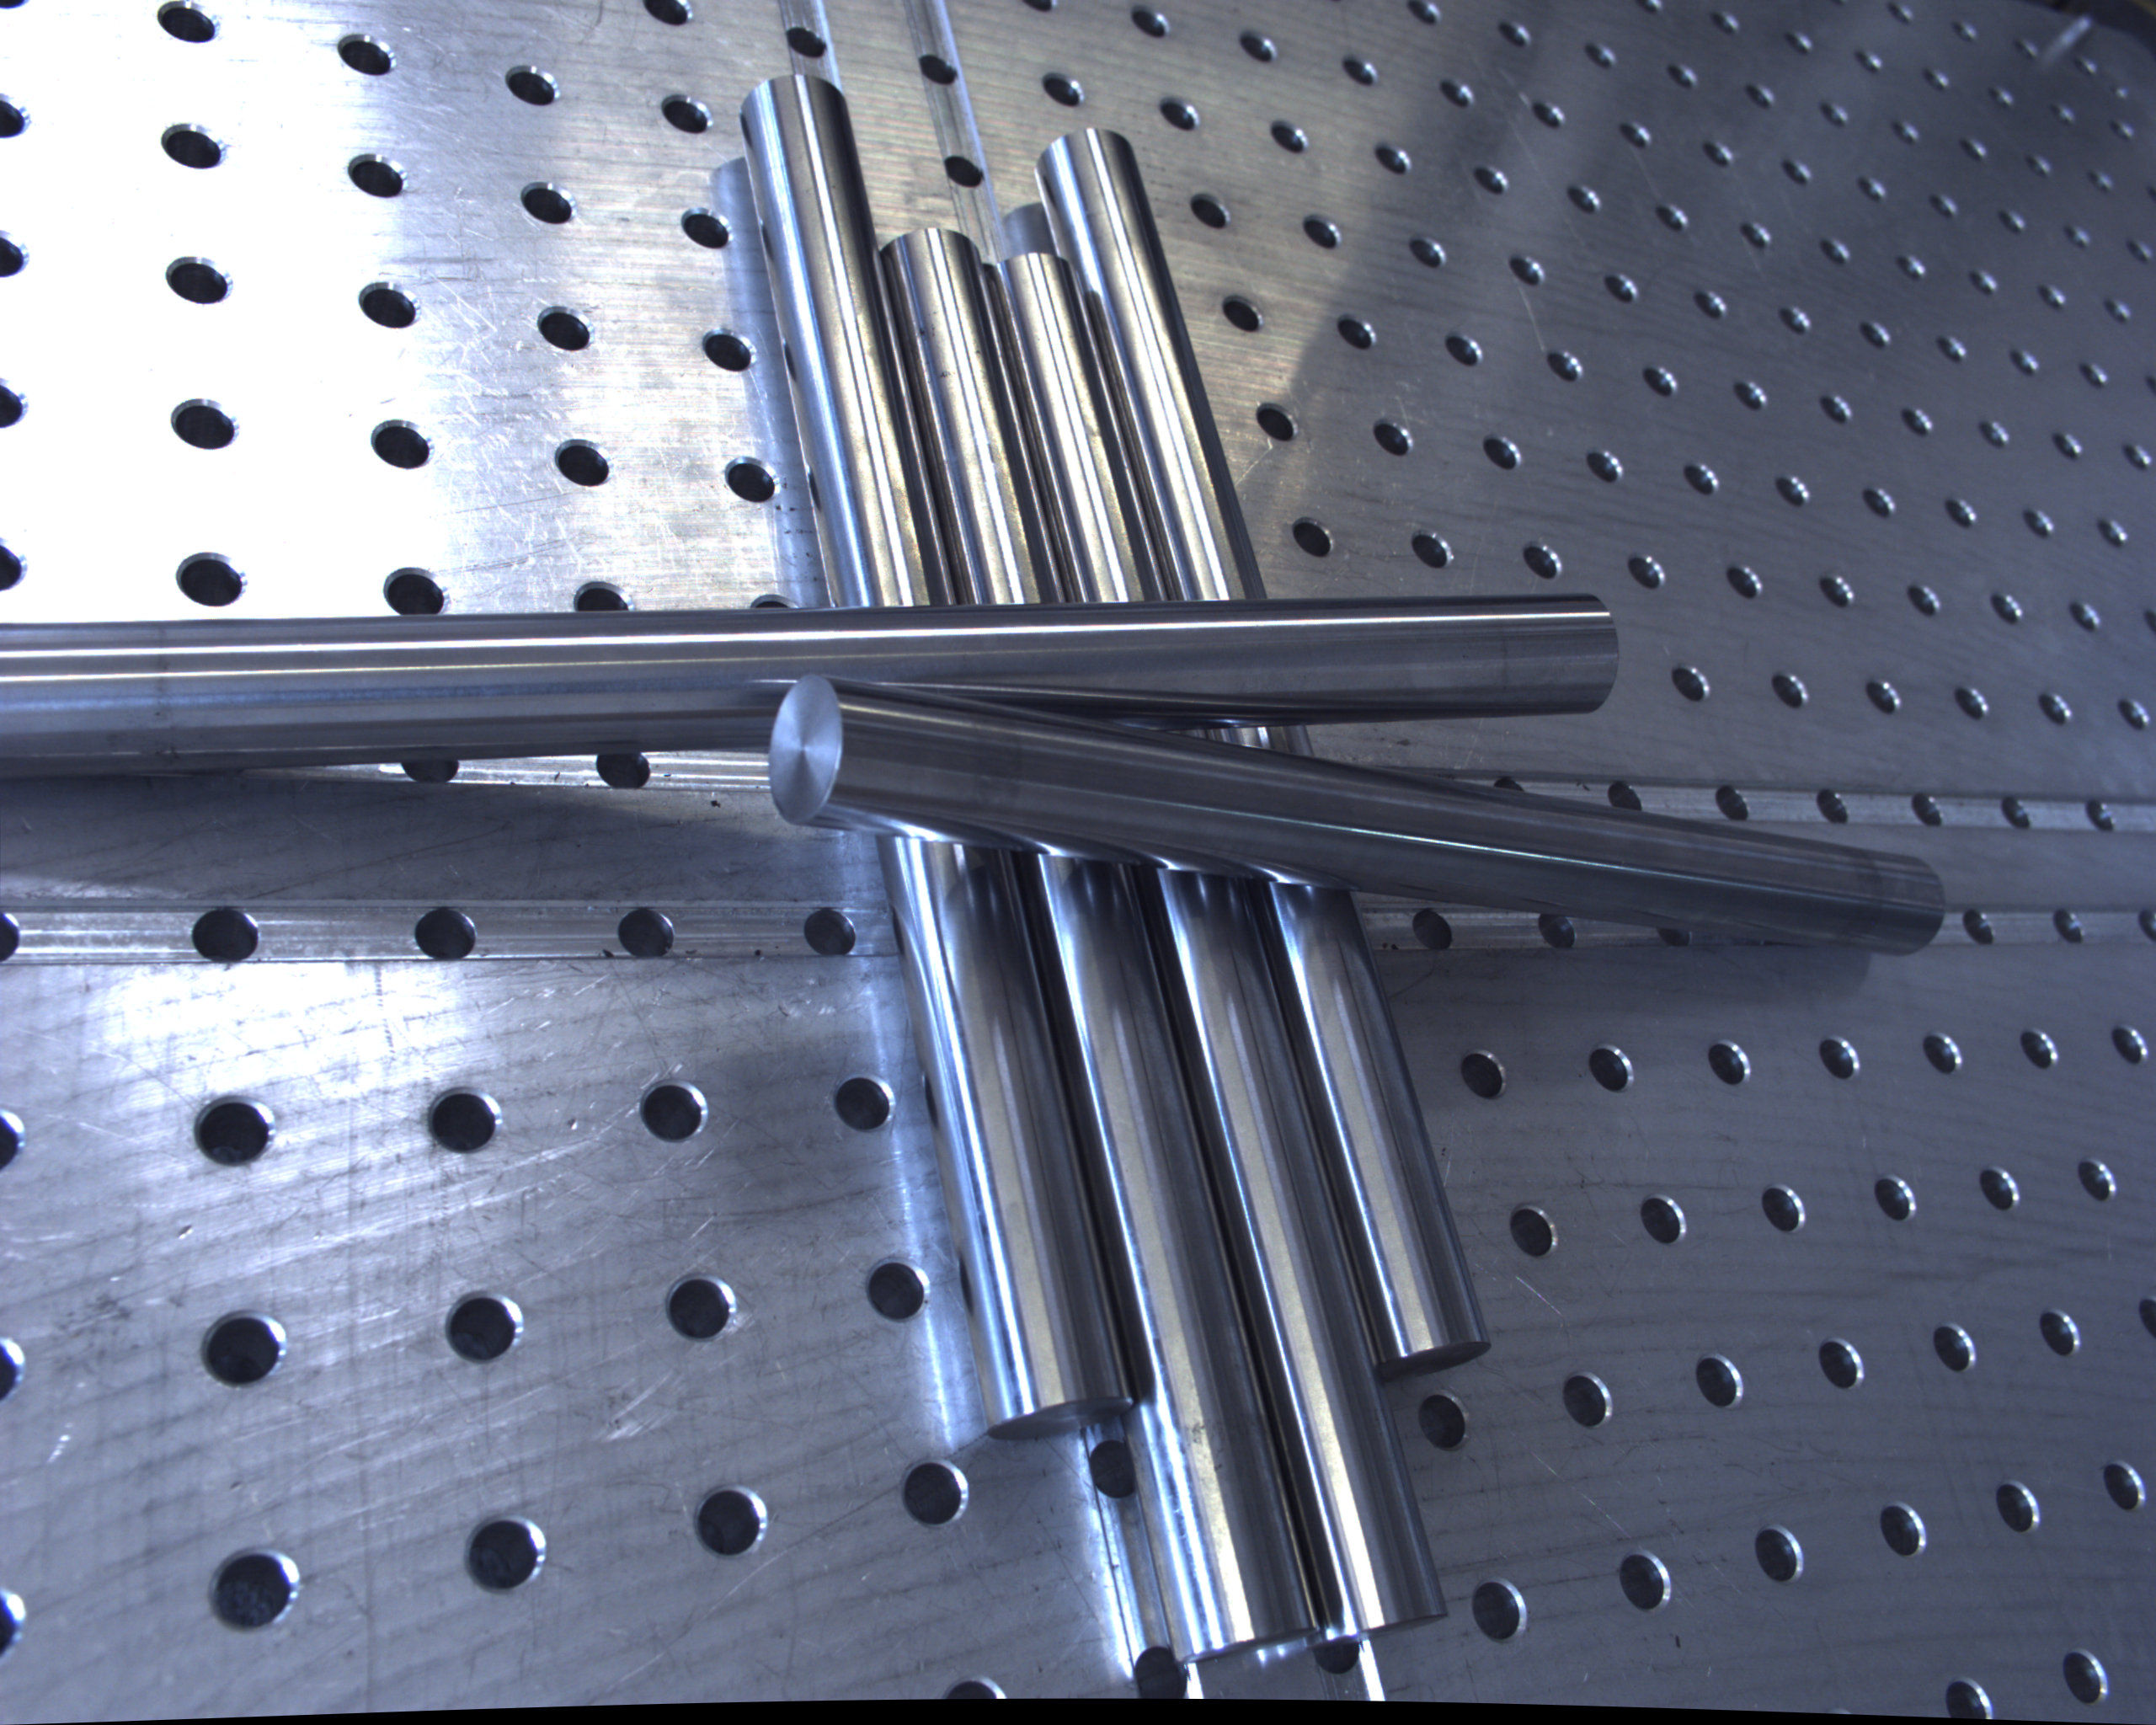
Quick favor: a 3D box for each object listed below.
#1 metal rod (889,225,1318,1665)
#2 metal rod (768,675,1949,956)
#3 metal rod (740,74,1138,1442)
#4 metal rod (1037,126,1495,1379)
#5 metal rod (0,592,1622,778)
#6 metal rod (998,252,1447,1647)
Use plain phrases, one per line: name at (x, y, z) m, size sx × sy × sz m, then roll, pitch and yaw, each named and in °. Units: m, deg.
metal rod at (-0.003, -0.003, 0.406) m, size 0.025 × 0.025 × 0.299 m, roll 1°, pitch 61°, yaw -28°
metal rod at (0.079, -0.004, 0.426) m, size 0.302 × 0.025 × 0.025 m, roll 7°, pitch 59°, yaw -35°
metal rod at (-0.033, -0.038, 0.412) m, size 0.025 × 0.025 × 0.299 m, roll 1°, pitch 61°, yaw -28°
metal rod at (0.033, -0.040, 0.449) m, size 0.025 × 0.025 × 0.299 m, roll 1°, pitch 61°, yaw -28°
metal rod at (-0.037, -0.034, 0.379) m, size 0.302 × 0.025 × 0.025 m, roll -4°, pitch 63°, yaw -20°
metal rod at (0.020, -0.001, 0.420) m, size 0.025 × 0.025 × 0.299 m, roll 1°, pitch 61°, yaw -28°
